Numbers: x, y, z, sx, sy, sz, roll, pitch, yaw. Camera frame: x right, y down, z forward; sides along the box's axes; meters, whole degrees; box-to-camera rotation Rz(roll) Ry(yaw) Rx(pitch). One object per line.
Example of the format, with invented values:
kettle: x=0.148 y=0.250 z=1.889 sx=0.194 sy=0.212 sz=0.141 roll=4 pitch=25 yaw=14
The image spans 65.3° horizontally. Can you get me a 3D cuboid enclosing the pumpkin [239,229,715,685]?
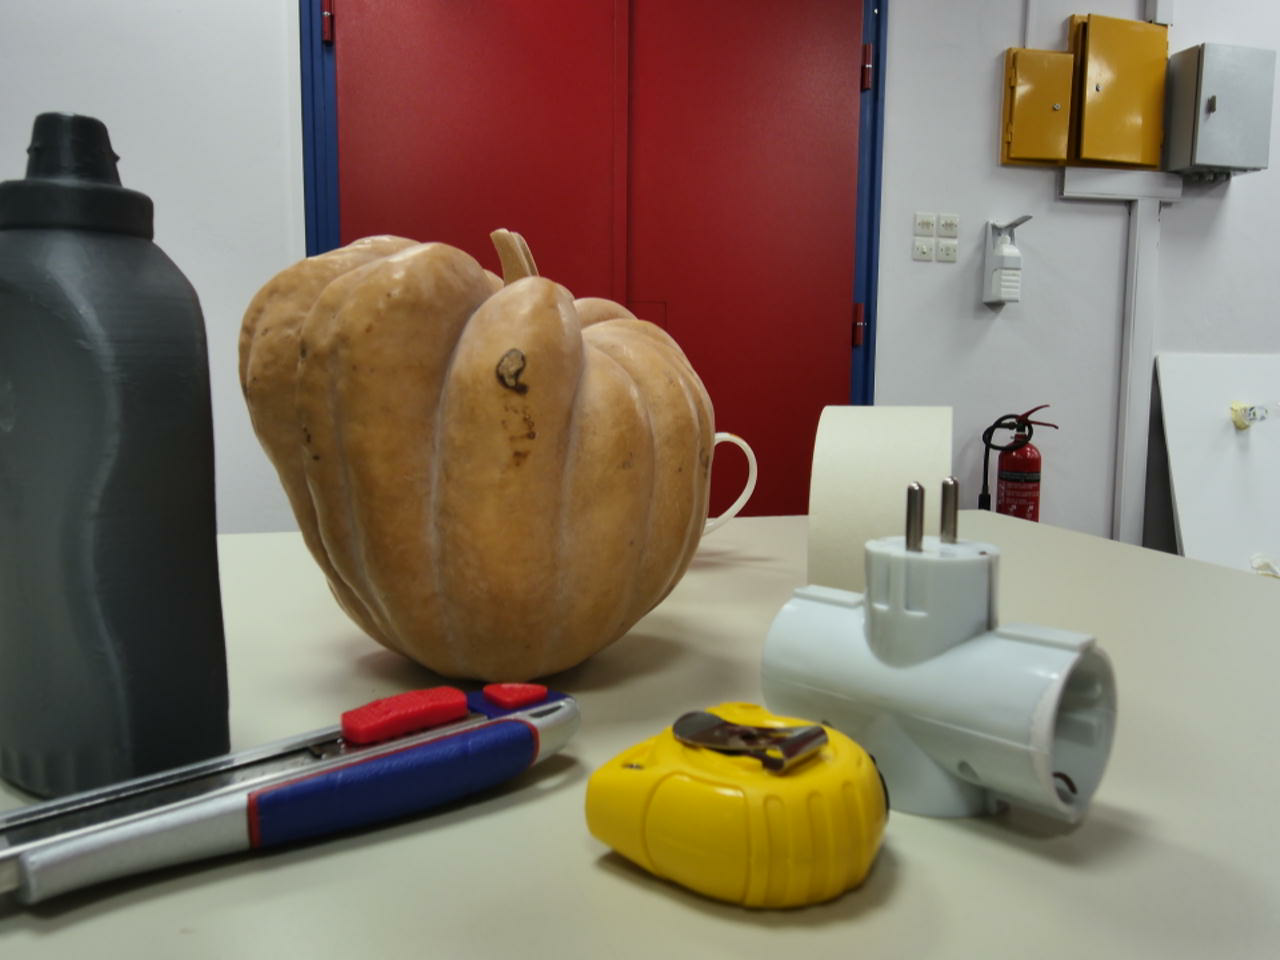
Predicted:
pumpkin: x=-0.062 y=-0.012 z=0.410 sx=0.199 sy=0.177 sz=0.198 roll=0 pitch=5 yaw=0
